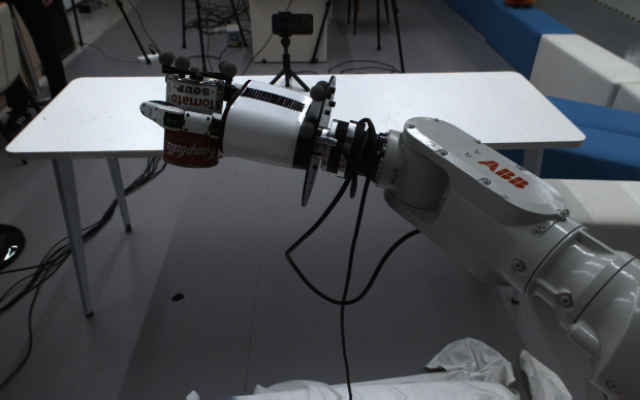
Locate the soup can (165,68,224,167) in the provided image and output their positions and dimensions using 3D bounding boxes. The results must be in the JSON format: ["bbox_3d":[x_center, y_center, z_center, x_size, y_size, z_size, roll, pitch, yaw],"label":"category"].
[{"bbox_3d":[-0.152,-0.096,0.582,0.067,0.101,0.067,8,19,-3],"label":"soup can"}]
